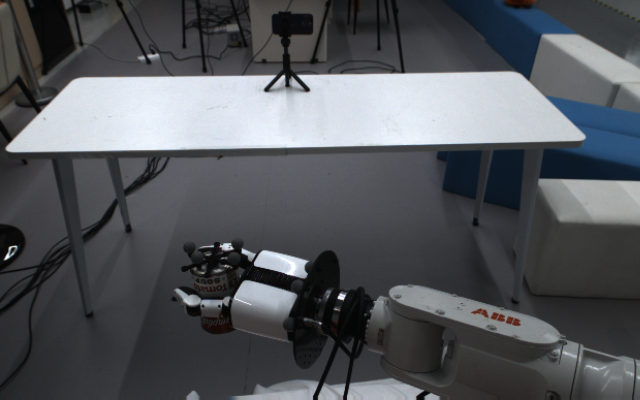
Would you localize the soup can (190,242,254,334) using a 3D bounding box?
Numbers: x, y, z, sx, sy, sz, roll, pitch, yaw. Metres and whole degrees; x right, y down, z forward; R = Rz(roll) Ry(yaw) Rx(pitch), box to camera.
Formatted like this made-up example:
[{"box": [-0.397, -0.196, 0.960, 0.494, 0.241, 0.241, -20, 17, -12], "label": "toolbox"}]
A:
[{"box": [-0.146, 0.133, 0.699, 0.067, 0.101, 0.067, -4, 25, 2], "label": "soup can"}]
